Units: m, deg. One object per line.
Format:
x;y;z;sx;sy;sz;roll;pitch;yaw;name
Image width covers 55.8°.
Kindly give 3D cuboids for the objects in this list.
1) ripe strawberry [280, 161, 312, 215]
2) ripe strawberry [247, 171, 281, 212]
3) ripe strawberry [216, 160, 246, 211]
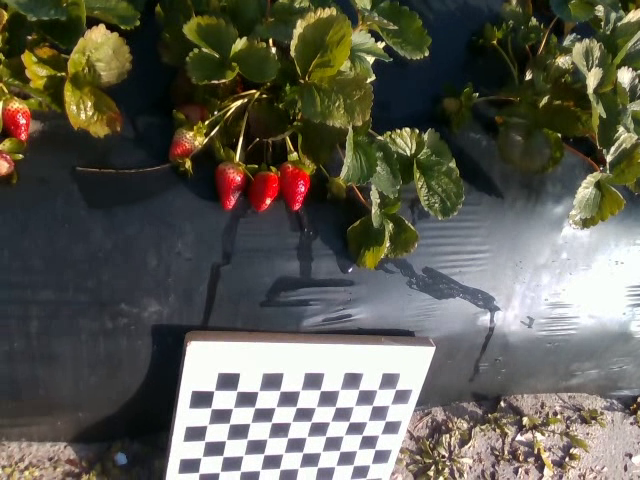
-0.024;-0.042;0.543;0.035;0.041;0.034;1;-26;-15;ripe strawberry
-0.050;-0.043;0.531;0.030;0.039;0.037;15;-44;-20;ripe strawberry
-0.080;-0.047;0.529;0.031;0.046;0.023;4;9;-17;ripe strawberry
